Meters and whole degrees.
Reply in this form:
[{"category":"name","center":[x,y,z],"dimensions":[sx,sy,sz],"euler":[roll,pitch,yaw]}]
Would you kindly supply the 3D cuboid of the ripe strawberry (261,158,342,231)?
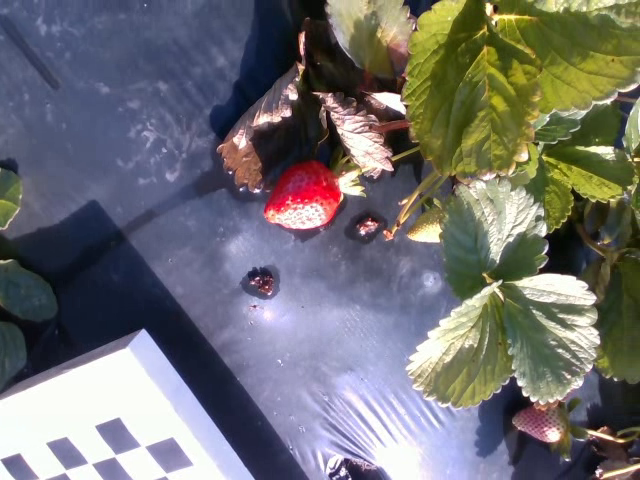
[{"category":"ripe strawberry","center":[-0.016,-0.016,0.282],"dimensions":[0.054,0.047,0.037],"euler":[-23,27,-24]}]
